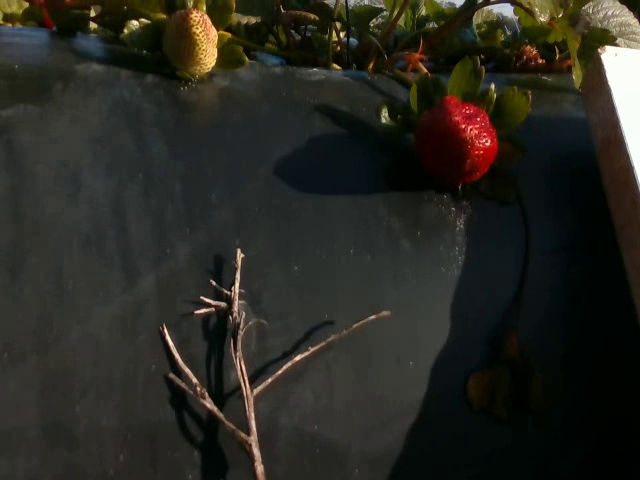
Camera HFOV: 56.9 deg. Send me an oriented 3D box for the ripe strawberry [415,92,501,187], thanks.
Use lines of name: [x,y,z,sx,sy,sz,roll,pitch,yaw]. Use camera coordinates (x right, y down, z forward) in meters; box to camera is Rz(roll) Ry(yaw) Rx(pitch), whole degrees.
ripe strawberry: [0.020,-0.015,0.084,0.015,0.015,0.023,13,7,1]
